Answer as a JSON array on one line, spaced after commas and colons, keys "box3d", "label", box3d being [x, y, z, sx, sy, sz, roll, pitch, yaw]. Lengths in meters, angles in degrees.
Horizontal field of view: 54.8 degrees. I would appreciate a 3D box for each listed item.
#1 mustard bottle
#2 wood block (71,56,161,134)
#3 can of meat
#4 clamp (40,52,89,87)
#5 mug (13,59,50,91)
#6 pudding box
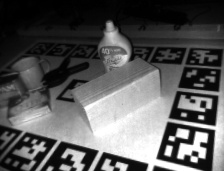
[{"box3d": [0.005, -0.096, 0.601, 0.095, 0.193, 0.058, 1, 43, 20], "label": "mustard bottle"}, {"box3d": [0.016, 0.017, 0.553, 0.207, 0.092, 0.088, -27, 39, -18], "label": "wood block"}, {"box3d": [-0.319, 0.010, 0.651, 0.102, 0.084, 0.057, -15, 41, 0], "label": "can of meat"}, {"box3d": [-0.173, -0.053, 0.735, 0.120, 0.037, 0.166, 24, 54, 35], "label": "clamp"}, {"box3d": [-0.263, -0.038, 0.737, 0.092, 0.082, 0.118, 26, 56, 38], "label": "mug"}, {"box3d": [-0.232, 0.054, 0.618, 0.114, 0.039, 0.089, -19, 40, -9], "label": "pudding box"}]
